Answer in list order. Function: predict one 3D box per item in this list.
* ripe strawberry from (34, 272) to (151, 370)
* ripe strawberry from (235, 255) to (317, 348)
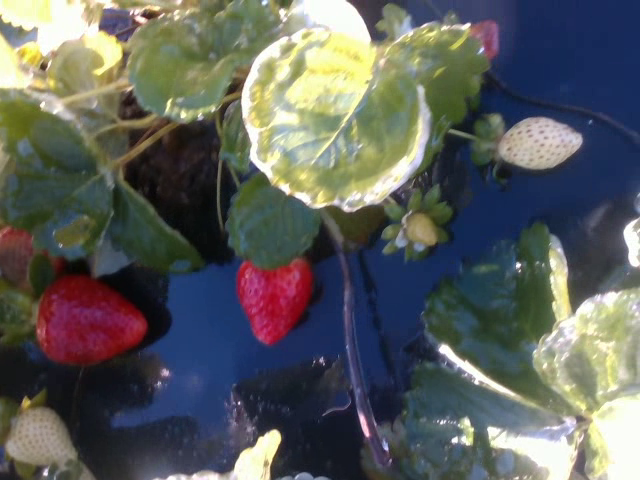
[{"bbox_3d":[-0.108,0.042,0.289,0.056,0.044,0.040,11,12,3],"label":"ripe strawberry"},{"bbox_3d":[-0.018,0.025,0.264,0.039,0.047,0.040,0,0,5],"label":"ripe strawberry"}]
